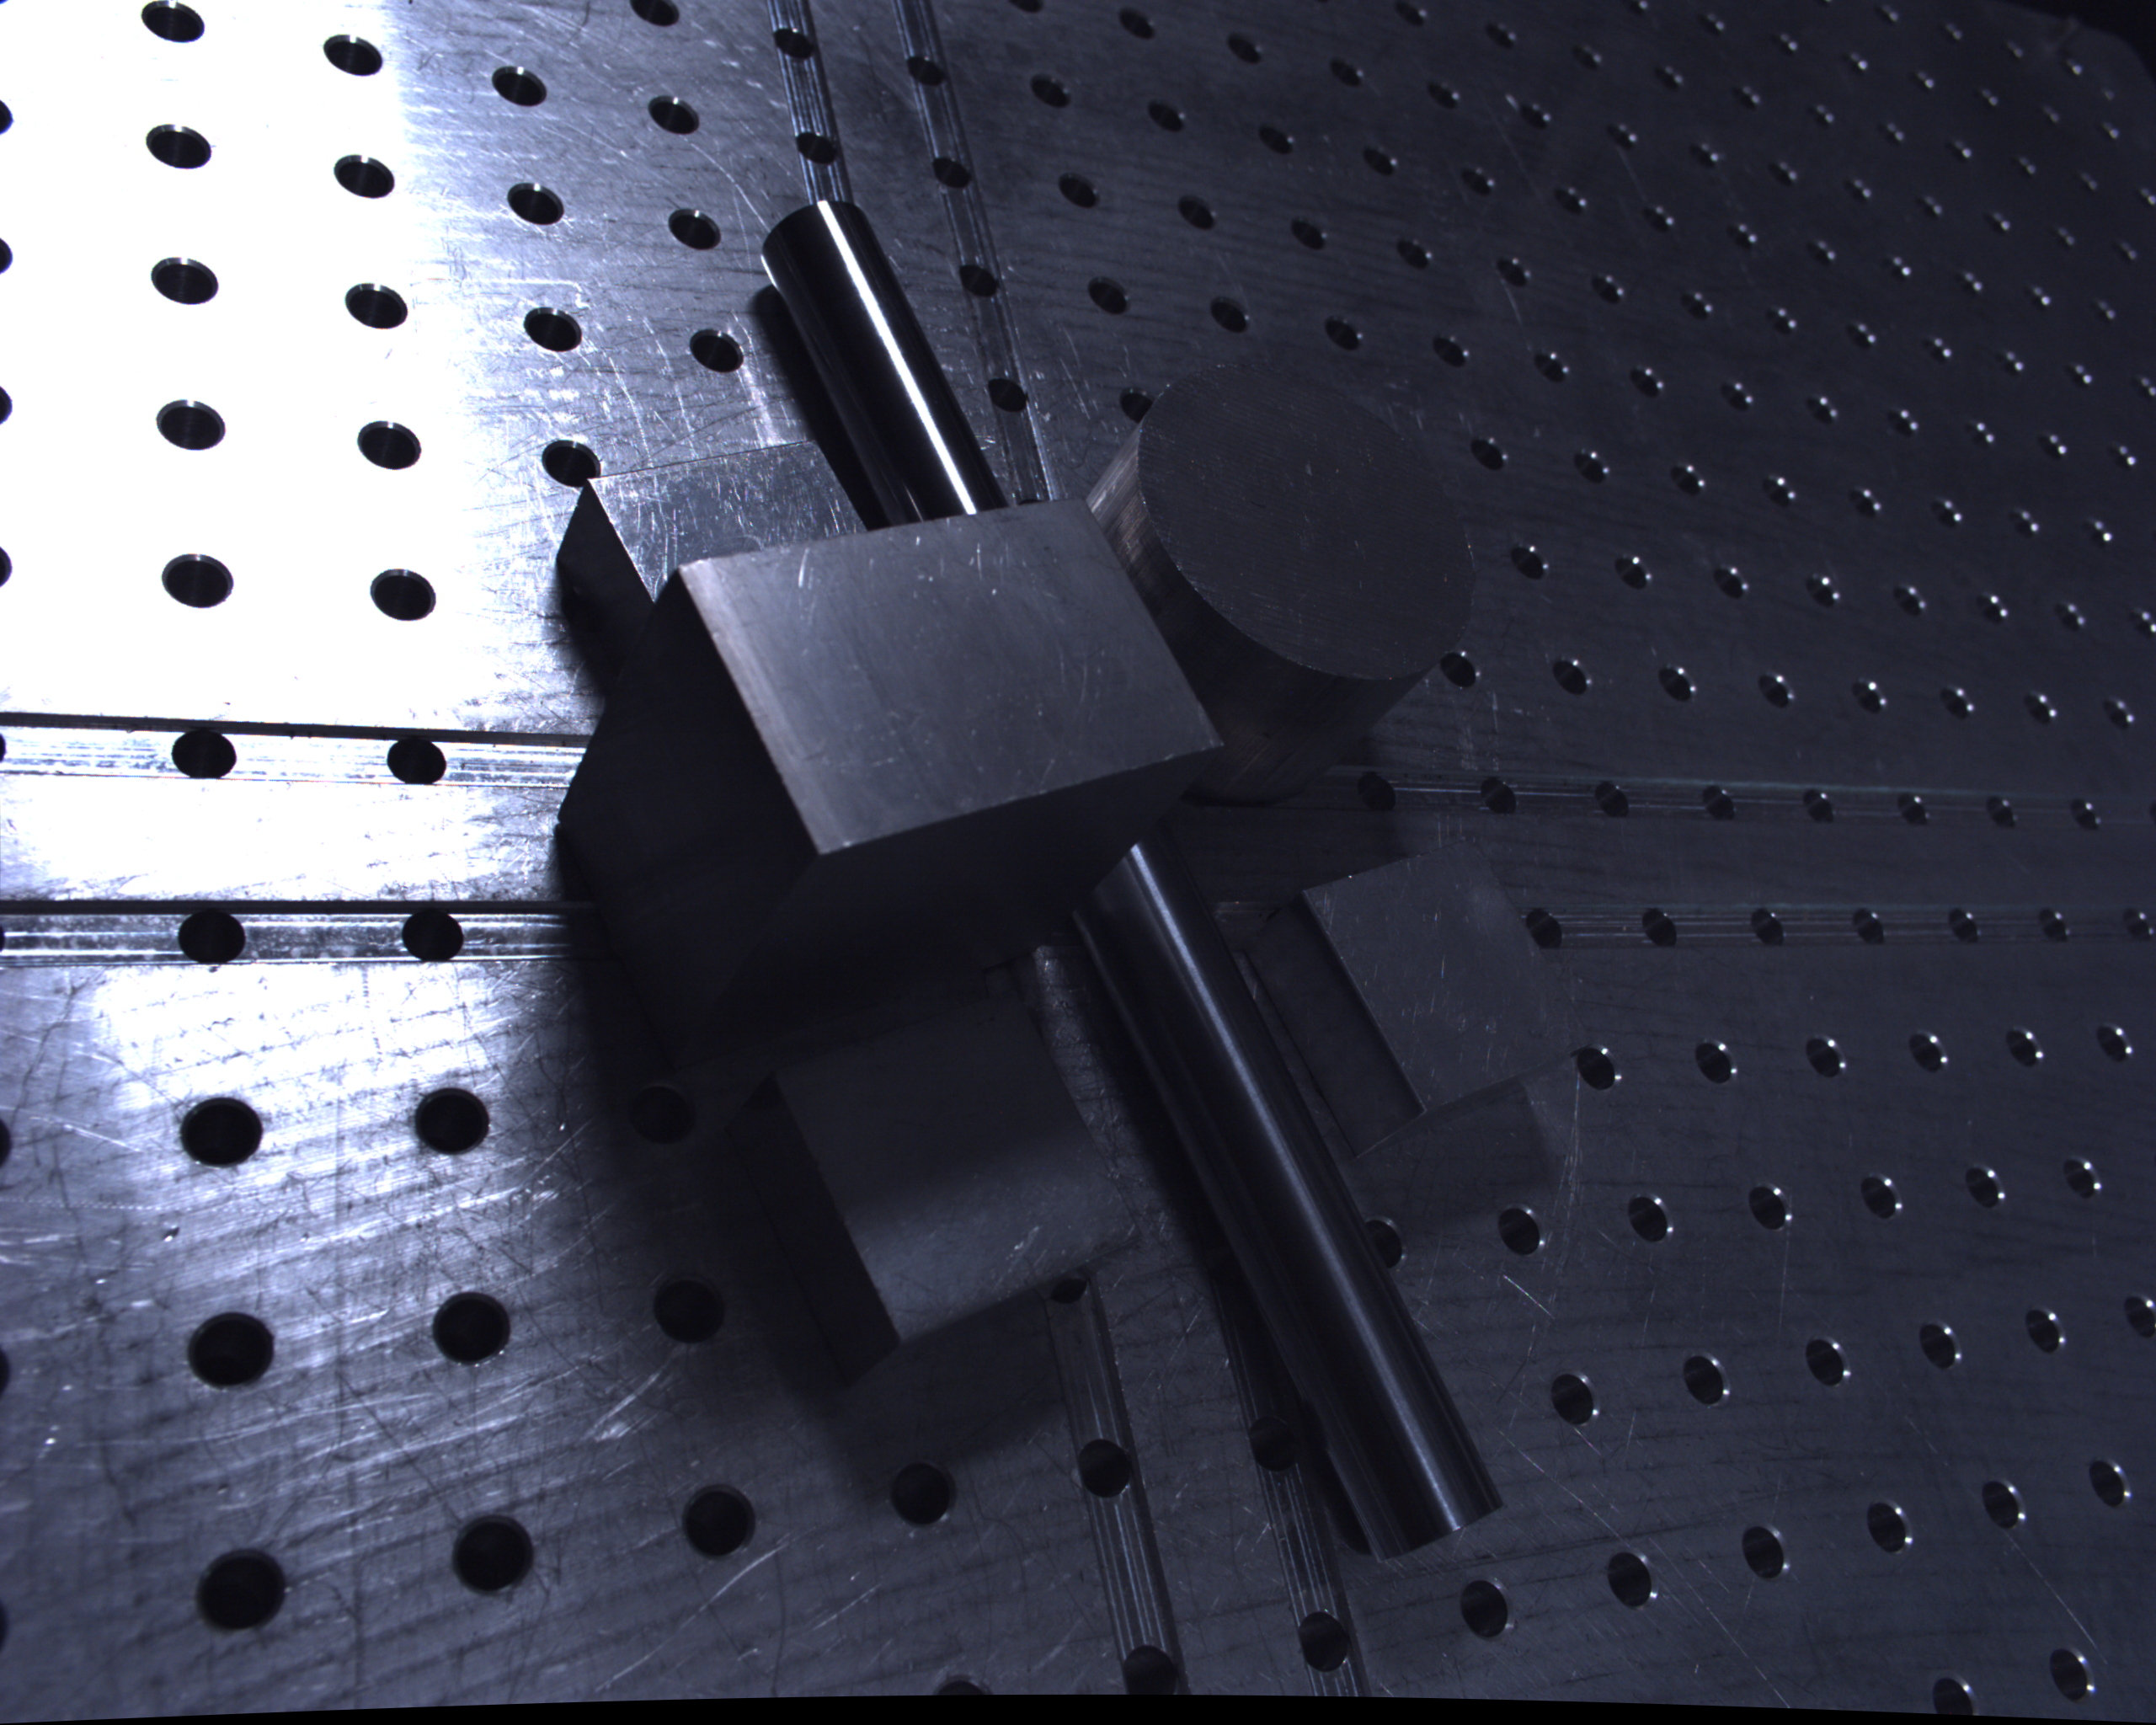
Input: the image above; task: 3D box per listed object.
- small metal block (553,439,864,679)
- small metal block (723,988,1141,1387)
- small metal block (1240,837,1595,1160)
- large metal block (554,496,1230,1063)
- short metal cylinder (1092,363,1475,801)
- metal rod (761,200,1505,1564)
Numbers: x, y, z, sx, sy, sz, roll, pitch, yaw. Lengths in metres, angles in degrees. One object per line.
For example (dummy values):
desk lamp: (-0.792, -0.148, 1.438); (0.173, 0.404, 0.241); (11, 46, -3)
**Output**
small metal block: (-0.066, -0.051, 0.405); (0.050, 0.025, 0.050); (-19, 72, -36)
small metal block: (-0.026, 0.055, 0.362); (0.050, 0.025, 0.050); (-17, 71, -35)
small metal block: (0.070, 0.027, 0.431); (0.050, 0.025, 0.050); (-16, 70, -35)
large metal block: (-0.035, -0.014, 0.362); (0.081, 0.080, 0.050); (-17, 71, -35)
short metal cylinder: (0.038, -0.060, 0.450); (0.081, 0.050, 0.080); (14, 56, -21)
metal rod: (0.003, -0.009, 0.416); (0.025, 0.025, 0.299); (-13, 69, -34)
